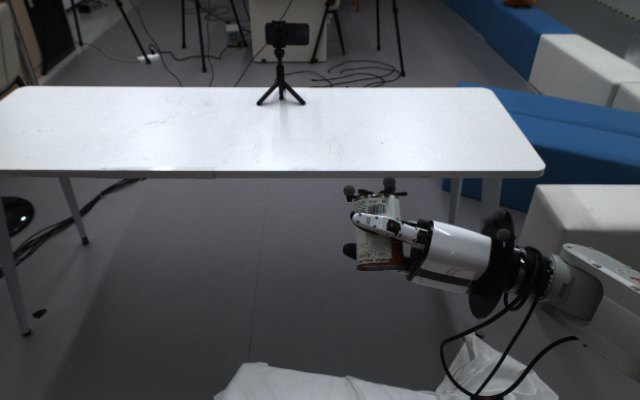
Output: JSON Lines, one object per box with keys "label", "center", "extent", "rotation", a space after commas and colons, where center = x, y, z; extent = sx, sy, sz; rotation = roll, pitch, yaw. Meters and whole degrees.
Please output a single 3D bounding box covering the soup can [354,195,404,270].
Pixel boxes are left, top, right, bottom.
{"label": "soup can", "center": [0.086, 0.047, 0.691], "extent": [0.067, 0.067, 0.101], "rotation": [-2, 76, -6]}
